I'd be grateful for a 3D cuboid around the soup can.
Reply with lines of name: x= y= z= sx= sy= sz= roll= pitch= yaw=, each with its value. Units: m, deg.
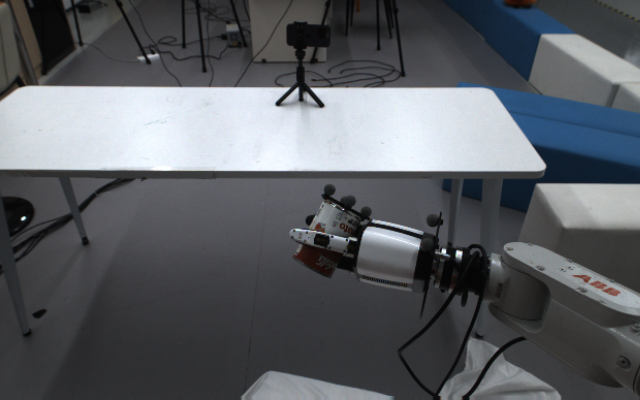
soup can: x=0.012 y=0.058 z=0.737 sx=0.067 sy=0.101 sz=0.067 roll=29 pitch=-3 yaw=1
